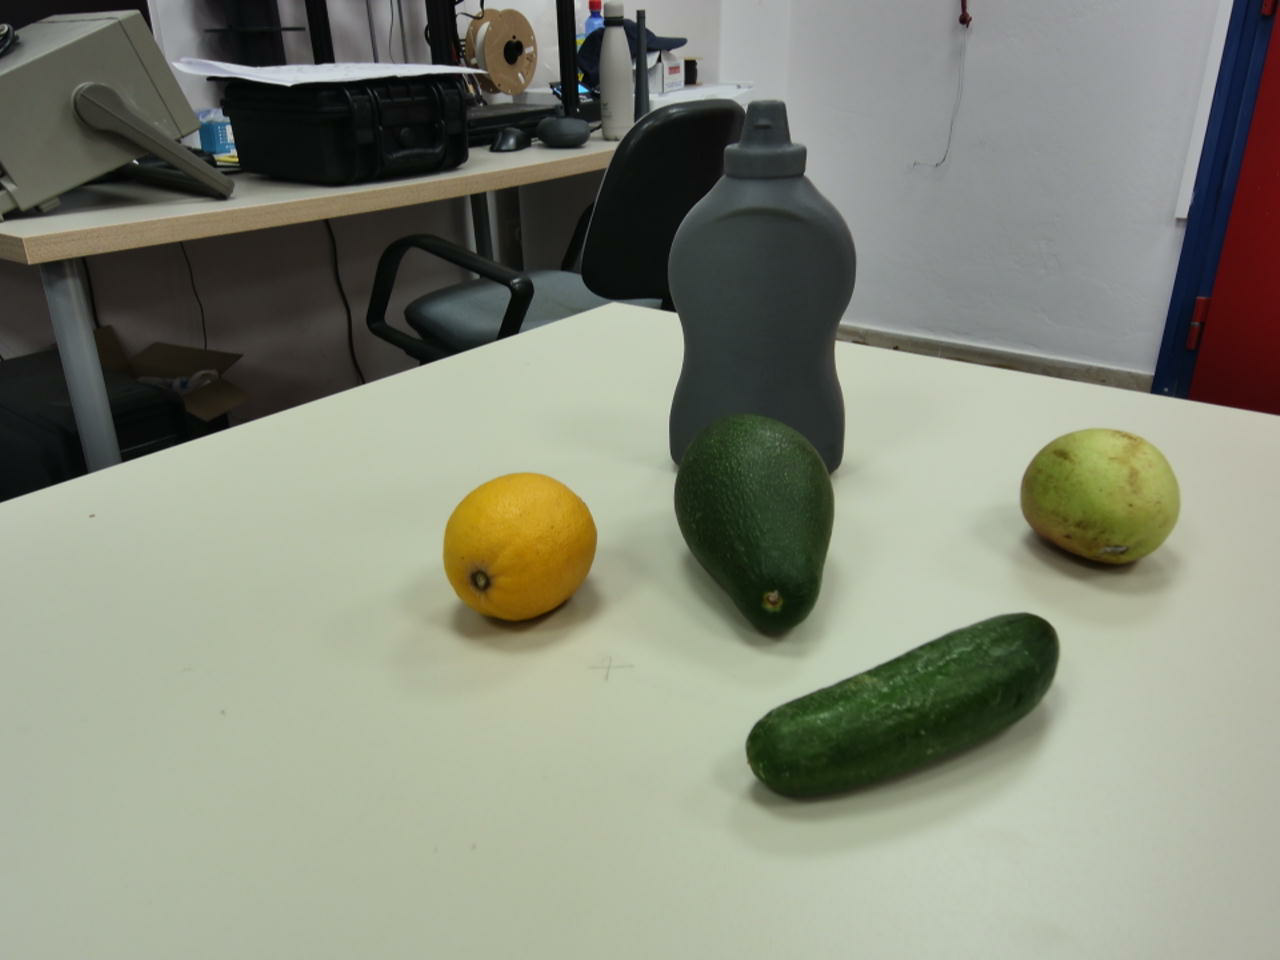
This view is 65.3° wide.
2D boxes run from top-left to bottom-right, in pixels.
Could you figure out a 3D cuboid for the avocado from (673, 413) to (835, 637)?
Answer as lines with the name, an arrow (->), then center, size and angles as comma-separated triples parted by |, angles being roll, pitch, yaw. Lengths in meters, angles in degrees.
avocado -> 0.047, 0.013, 0.432 | 0.073, 0.071, 0.109 | 5, 23, 15
